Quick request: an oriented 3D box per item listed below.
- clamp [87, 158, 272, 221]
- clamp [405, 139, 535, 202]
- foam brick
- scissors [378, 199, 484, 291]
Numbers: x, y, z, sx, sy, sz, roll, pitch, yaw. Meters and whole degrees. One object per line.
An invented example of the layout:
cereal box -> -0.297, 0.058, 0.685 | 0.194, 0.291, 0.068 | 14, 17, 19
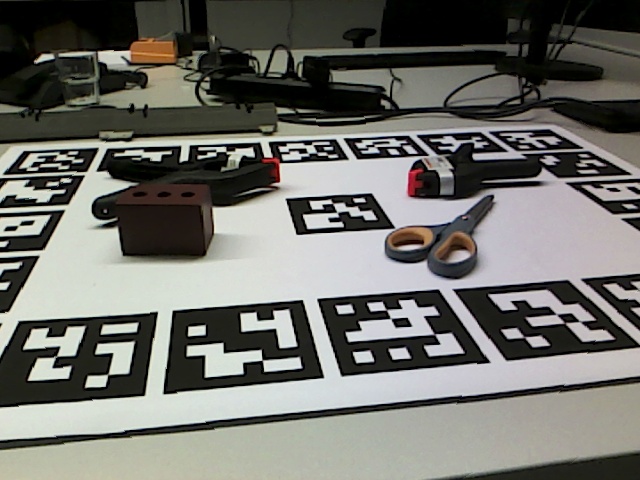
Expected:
clamp -> -0.156, -0.067, 0.714 | 0.202, 0.036, 0.166 | -5, 25, -12
clamp -> 0.167, -0.081, 0.755 | 0.164, 0.036, 0.123 | -19, 40, -32
foam brick -> -0.150, -0.009, 0.589 | 0.078, 0.051, 0.053 | -4, 28, 1
scissors -> 0.129, -0.009, 0.619 | 0.088, 0.016, 0.202 | 22, 32, 22
